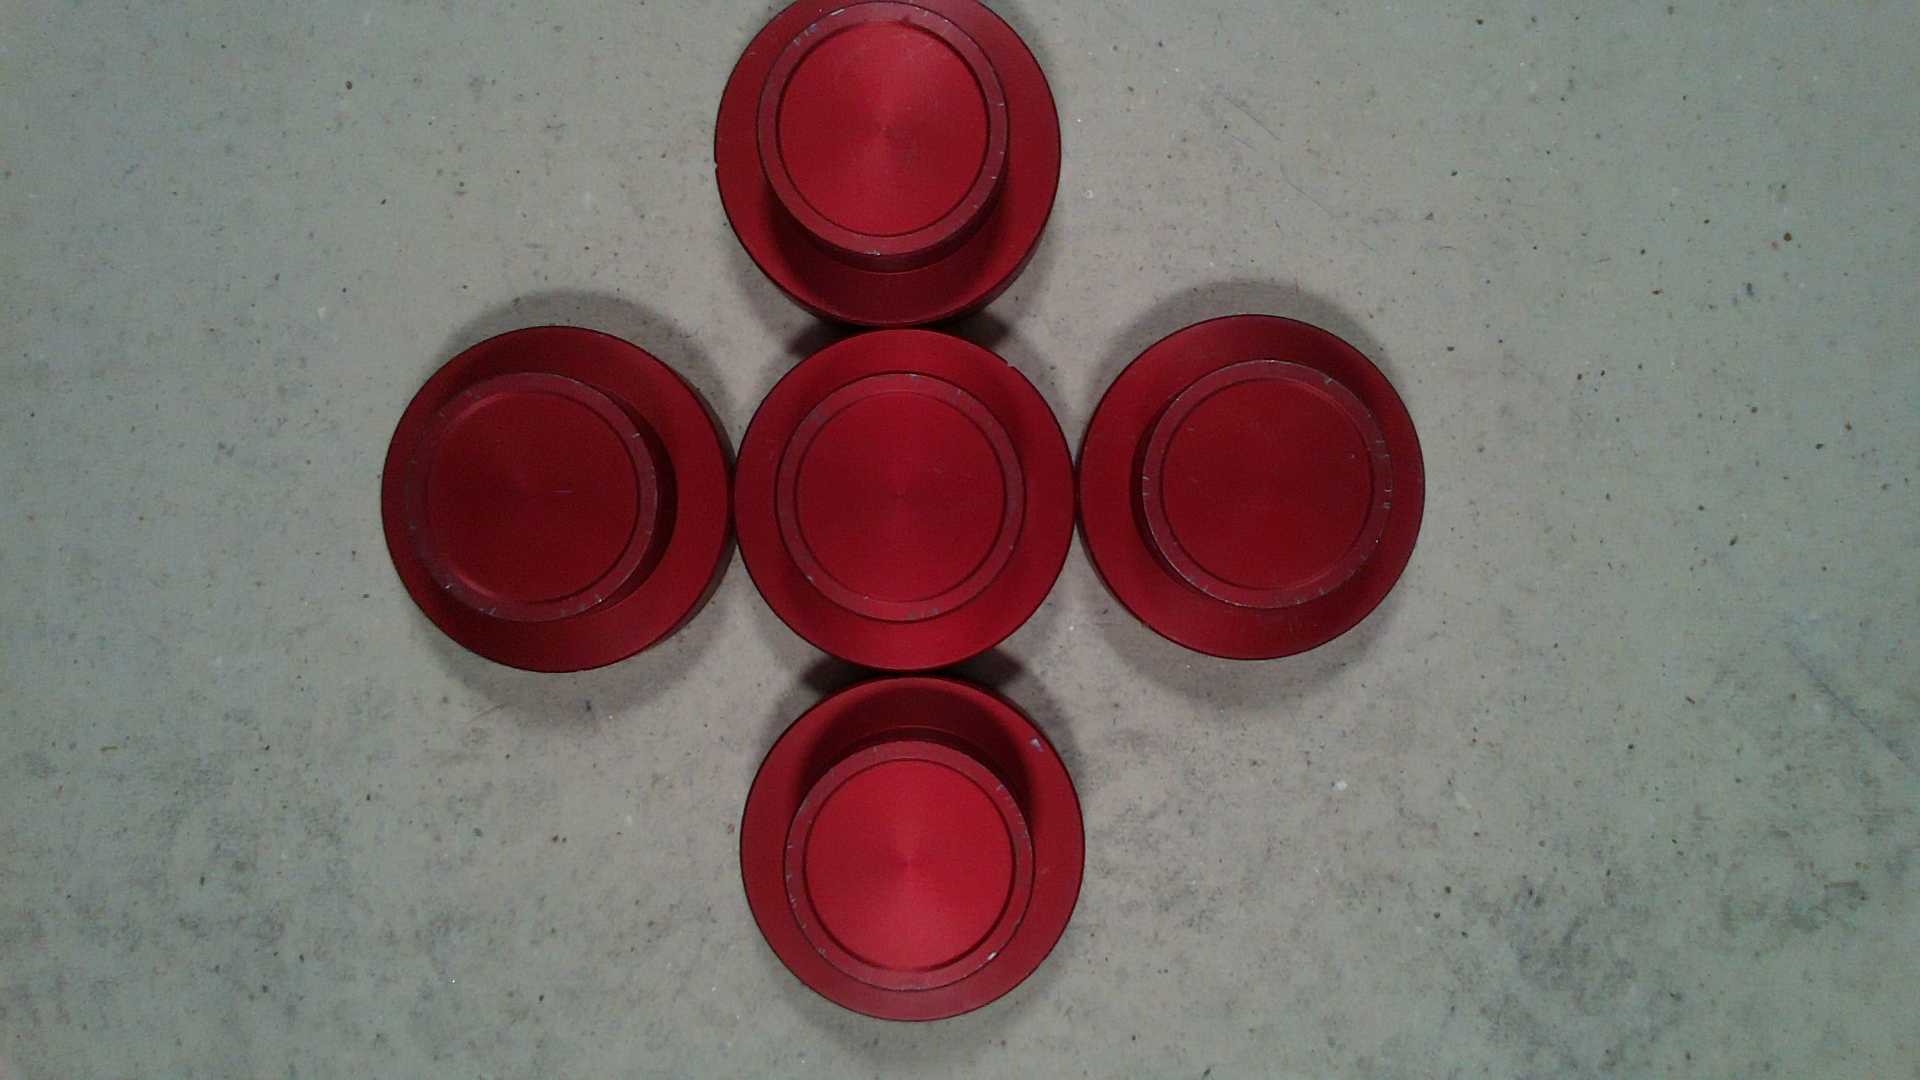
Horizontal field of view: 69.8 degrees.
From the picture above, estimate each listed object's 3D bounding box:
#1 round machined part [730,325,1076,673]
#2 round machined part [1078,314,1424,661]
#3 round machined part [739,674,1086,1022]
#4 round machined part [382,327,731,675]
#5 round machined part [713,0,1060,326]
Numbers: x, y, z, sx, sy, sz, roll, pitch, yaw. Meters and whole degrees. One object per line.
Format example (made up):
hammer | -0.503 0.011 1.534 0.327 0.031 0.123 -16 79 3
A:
round machined part | -0.016 -0.012 0.387 0.098 0.042 0.098 0 90 0
round machined part | 0.082 -0.015 0.387 0.098 0.042 0.098 0 90 0
round machined part | -0.013 0.087 0.387 0.098 0.042 0.098 0 90 0
round machined part | -0.114 -0.011 0.387 0.098 0.042 0.098 0 90 0
round machined part | -0.021 -0.110 0.387 0.098 0.042 0.098 0 90 0
